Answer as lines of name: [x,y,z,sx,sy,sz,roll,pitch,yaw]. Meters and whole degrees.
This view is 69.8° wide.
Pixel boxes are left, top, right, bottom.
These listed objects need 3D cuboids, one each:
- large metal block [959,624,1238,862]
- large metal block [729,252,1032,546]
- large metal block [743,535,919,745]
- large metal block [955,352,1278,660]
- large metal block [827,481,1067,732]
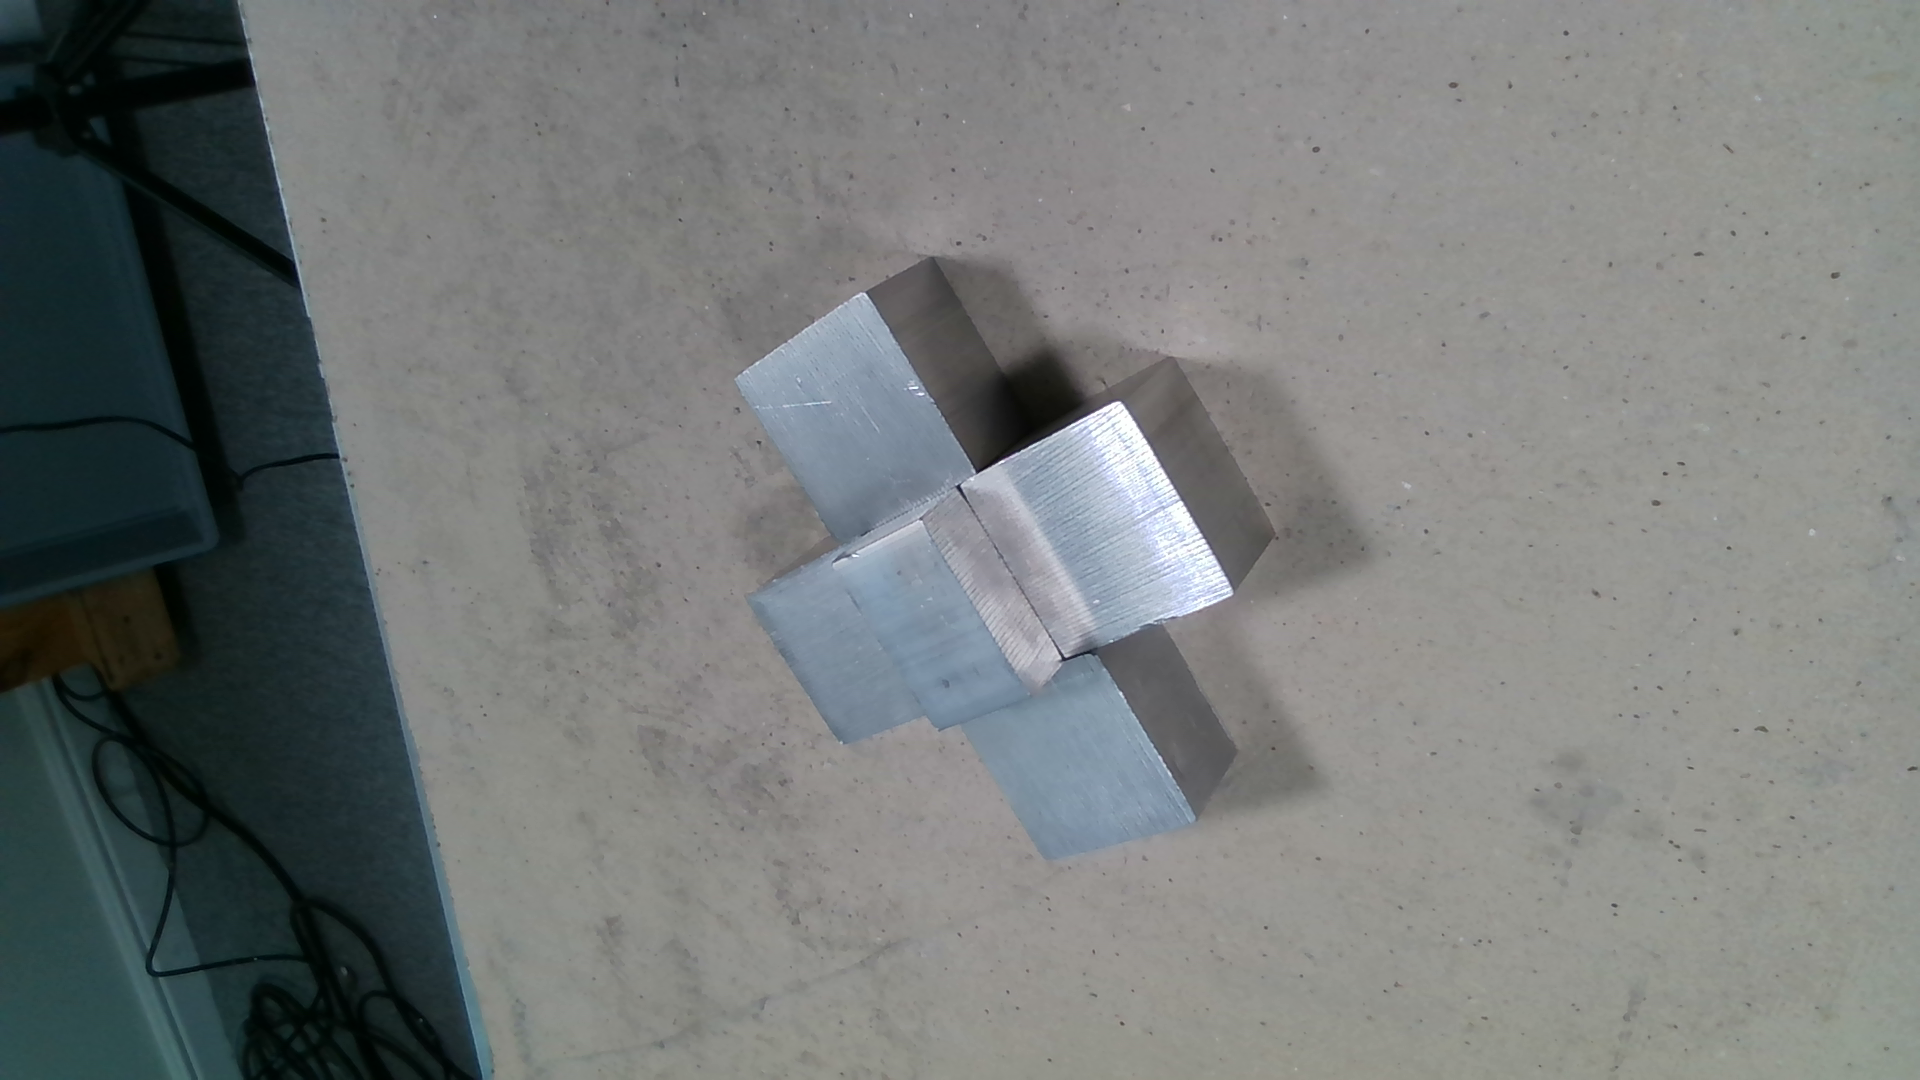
large metal block: [0.055,0.079,0.573,0.080,0.050,0.080,-26,100,38]
large metal block: [-0.031,-0.055,0.552,0.080,0.050,0.080,-26,100,38]
large metal block: [-0.034,0.033,0.602,0.080,0.050,0.080,-26,100,38]
large metal block: [0.059,-0.012,0.520,0.080,0.050,0.080,-26,100,38]
large metal block: [0.007,0.016,0.549,0.050,0.080,0.080,-26,100,38]
